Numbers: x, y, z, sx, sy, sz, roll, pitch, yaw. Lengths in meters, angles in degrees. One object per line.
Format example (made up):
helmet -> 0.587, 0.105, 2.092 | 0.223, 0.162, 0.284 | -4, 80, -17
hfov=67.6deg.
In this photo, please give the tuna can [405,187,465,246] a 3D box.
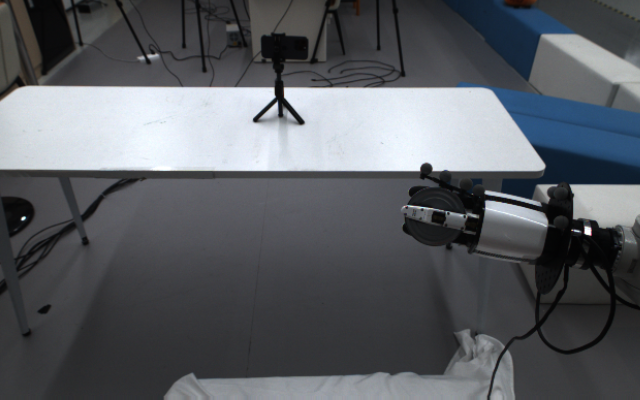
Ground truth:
tuna can -> 0.169, 0.021, 0.706 | 0.085, 0.085, 0.034 | 13, 2, 16
